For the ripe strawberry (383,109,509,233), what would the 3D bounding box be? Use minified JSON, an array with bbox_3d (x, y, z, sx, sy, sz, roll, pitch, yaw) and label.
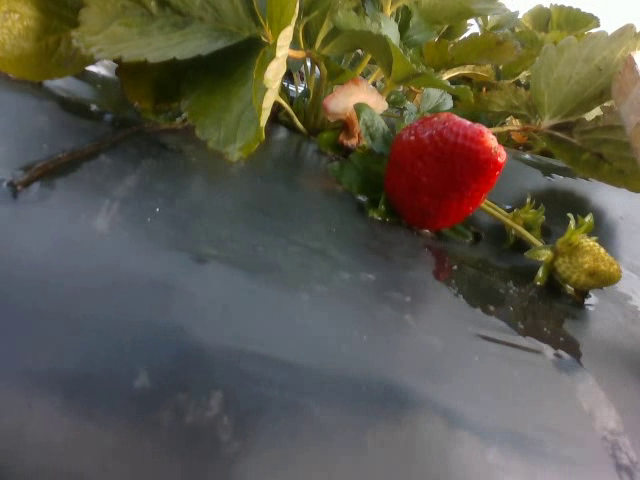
[{"bbox_3d":[0.053,-0.029,0.230,0.043,0.052,0.057,-12,-7,-18],"label":"ripe strawberry"}]
